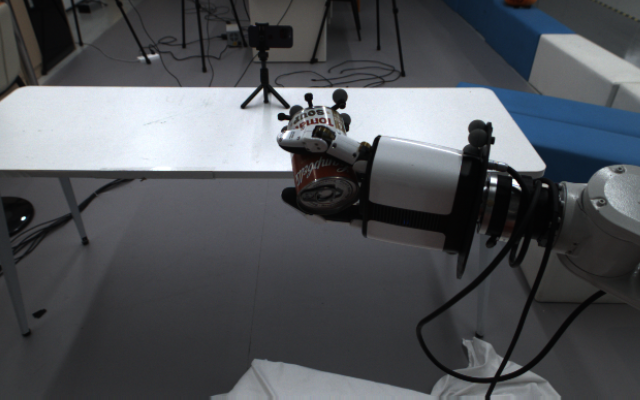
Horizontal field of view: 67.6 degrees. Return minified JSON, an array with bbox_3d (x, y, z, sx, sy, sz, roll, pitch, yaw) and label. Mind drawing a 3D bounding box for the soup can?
[{"bbox_3d":[0.004,-0.045,0.531,0.067,0.067,0.101,-5,57,-10],"label":"soup can"}]
